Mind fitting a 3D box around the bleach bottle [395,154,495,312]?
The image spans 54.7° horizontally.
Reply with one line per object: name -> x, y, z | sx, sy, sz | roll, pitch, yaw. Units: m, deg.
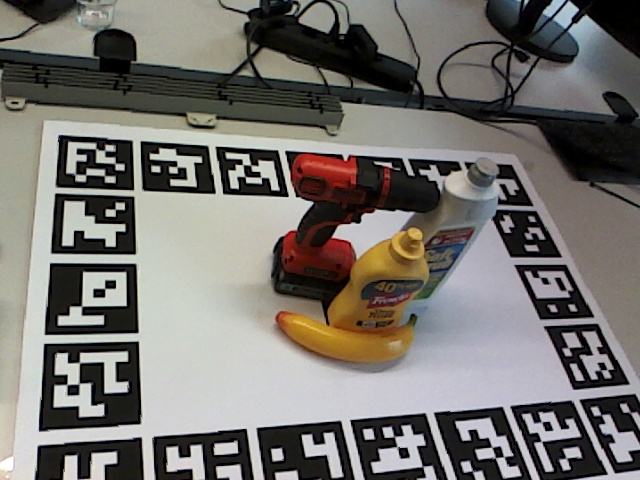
bleach bottle -> 0.147, -0.007, 0.799 | 0.102, 0.250, 0.068 | 4, 46, -18

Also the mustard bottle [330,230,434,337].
mustard bottle -> 0.085, 0.052, 0.760 | 0.096, 0.191, 0.058 | 2, 52, -20

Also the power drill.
power drill -> 0.040, -0.018, 0.773 | 0.184, 0.187, 0.057 | 12, 48, -13

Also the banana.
banana -> 0.047, 0.127, 0.800 | 0.197, 0.039, 0.074 | 4, 52, -14
